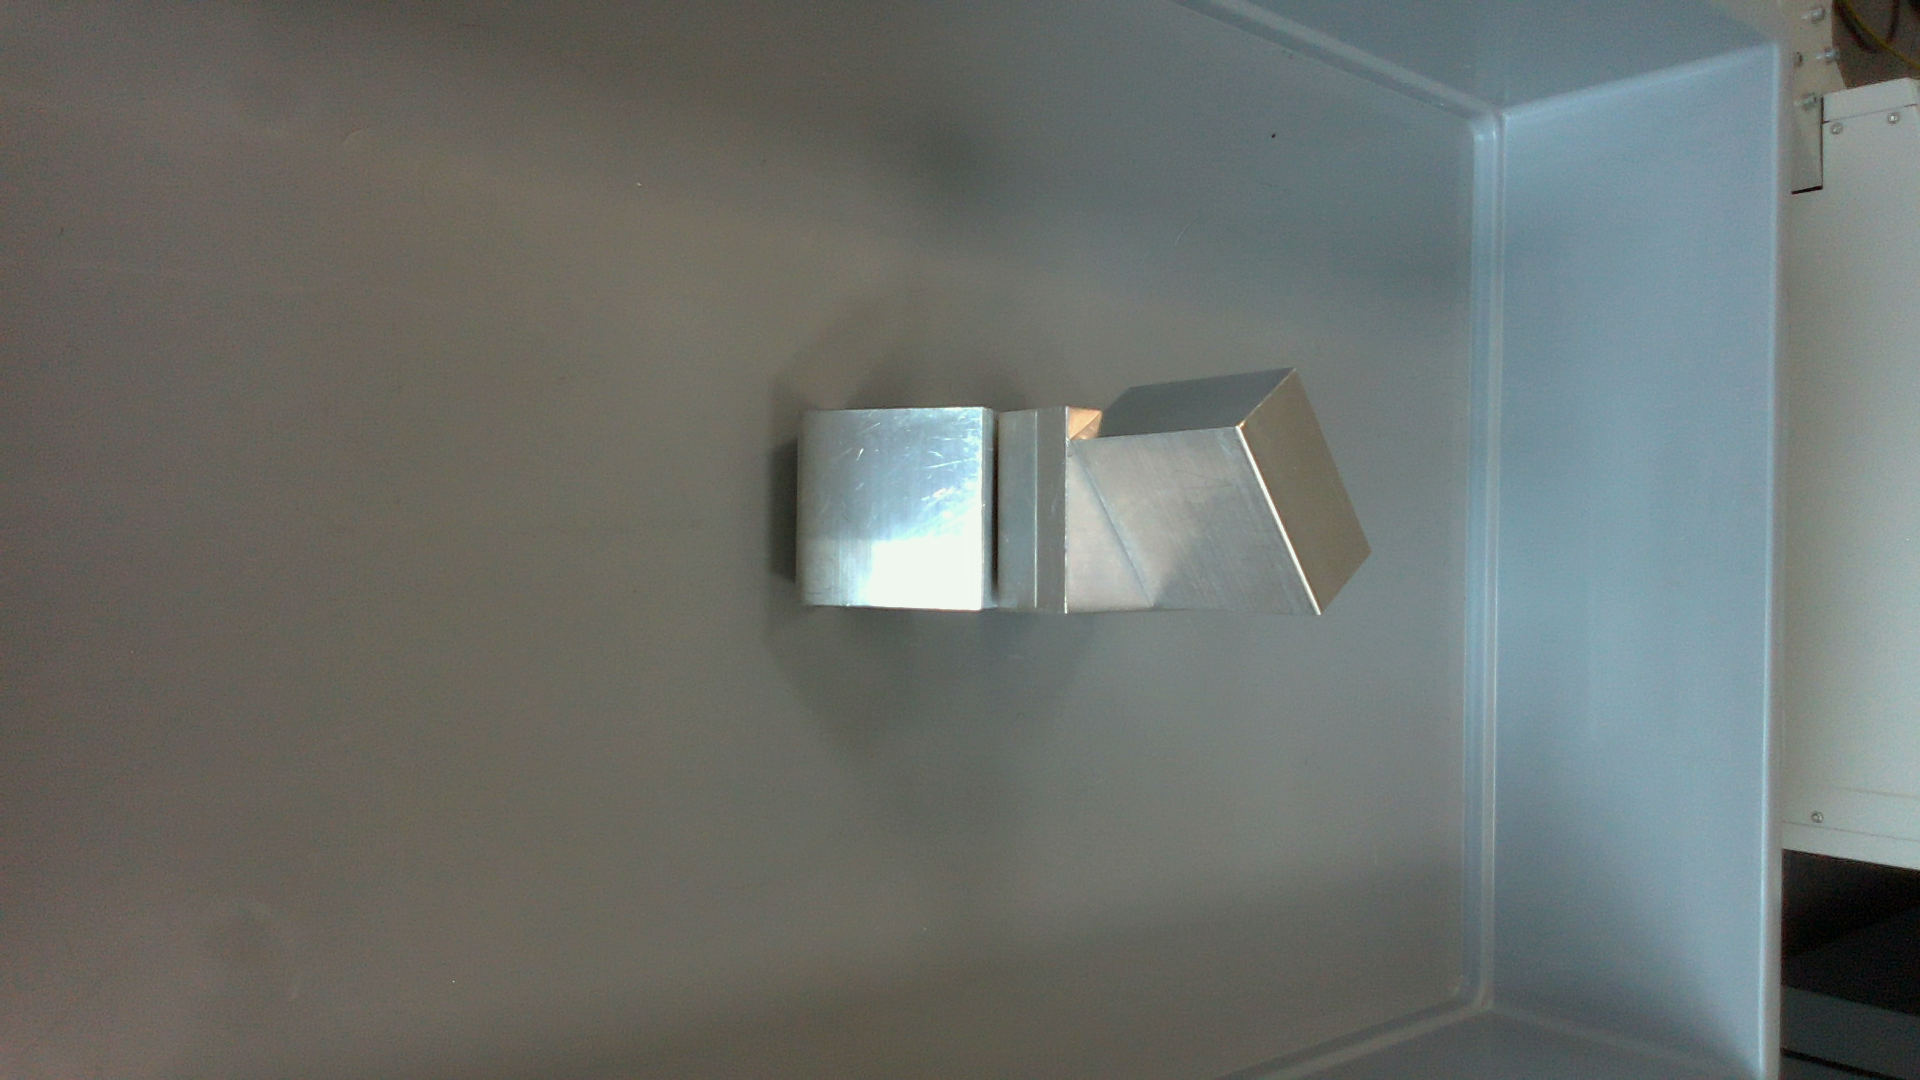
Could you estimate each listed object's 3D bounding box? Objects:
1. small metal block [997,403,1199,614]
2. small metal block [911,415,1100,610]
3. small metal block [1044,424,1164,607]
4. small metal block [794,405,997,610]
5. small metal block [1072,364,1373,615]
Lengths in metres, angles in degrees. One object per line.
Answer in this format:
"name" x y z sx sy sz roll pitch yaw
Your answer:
"small metal block" 0.037 -0.007 0.352 0.050 0.025 0.050 1 89 -40
"small metal block" 0.012 -0.007 0.380 0.025 0.050 0.050 1 89 -40
"small metal block" 0.041 -0.007 0.402 0.025 0.050 0.050 1 90 -5
"small metal block" -0.014 -0.008 0.355 0.025 0.050 0.050 2 89 -73
"small metal block" 0.061 -0.011 0.324 0.025 0.050 0.050 -42 115 -31
